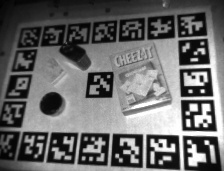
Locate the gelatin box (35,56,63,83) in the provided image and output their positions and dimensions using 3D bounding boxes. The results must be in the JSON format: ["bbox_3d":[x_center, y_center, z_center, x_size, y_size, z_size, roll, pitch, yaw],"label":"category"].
[{"bbox_3d":[-0.251,-0.065,0.864,0.073,0.030,0.088,-45,70,-9],"label":"gelatin box"}]

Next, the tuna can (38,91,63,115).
[{"bbox_3d":[-0.229,0.067,0.805,0.085,0.034,0.085,-4,73,12],"label":"tuna can"}]

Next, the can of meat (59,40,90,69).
[{"bbox_3d":[-0.143,-0.117,0.839,0.101,0.084,0.058,29,78,22],"label":"can of meat"}]

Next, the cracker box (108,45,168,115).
[{"bbox_3d":[0.087,-0.022,0.759,0.164,0.072,0.212,-16,66,5],"label":"cracker box"}]
